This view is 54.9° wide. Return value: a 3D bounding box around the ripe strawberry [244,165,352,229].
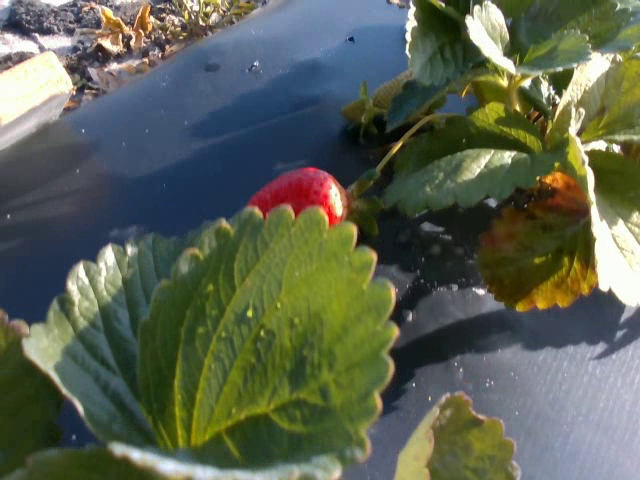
[{"bbox_3d":[-0.010,-0.012,0.223,0.044,0.033,0.030,-3,7,-7],"label":"ripe strawberry"}]
